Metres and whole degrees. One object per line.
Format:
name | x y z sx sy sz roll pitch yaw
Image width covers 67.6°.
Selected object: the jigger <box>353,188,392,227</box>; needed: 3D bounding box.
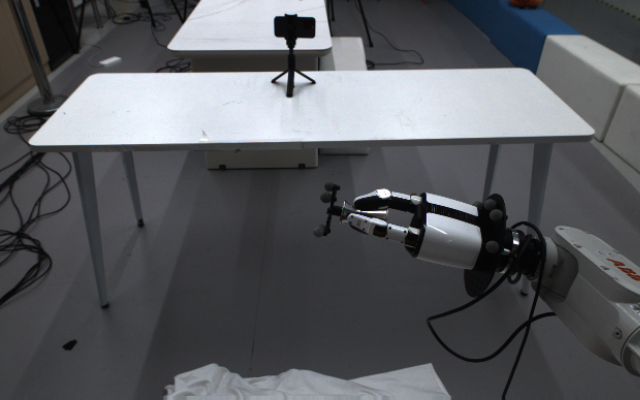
jigger | 0.073 0.023 0.735 0.071 0.043 0.043 12 36 5
